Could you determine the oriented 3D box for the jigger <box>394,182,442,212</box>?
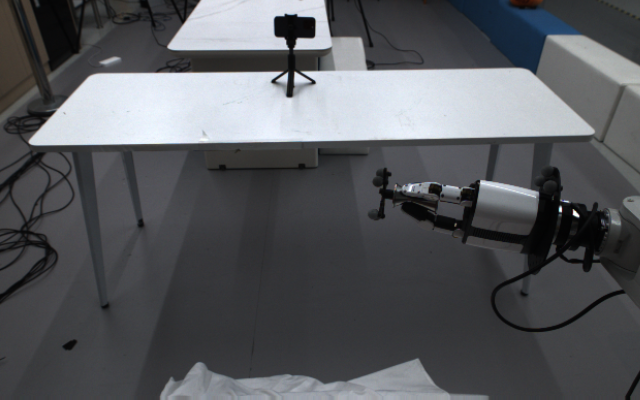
[{"bbox_3d":[0.156,-0.008,0.755,0.071,0.043,0.043,7,35,13],"label":"jigger"}]
